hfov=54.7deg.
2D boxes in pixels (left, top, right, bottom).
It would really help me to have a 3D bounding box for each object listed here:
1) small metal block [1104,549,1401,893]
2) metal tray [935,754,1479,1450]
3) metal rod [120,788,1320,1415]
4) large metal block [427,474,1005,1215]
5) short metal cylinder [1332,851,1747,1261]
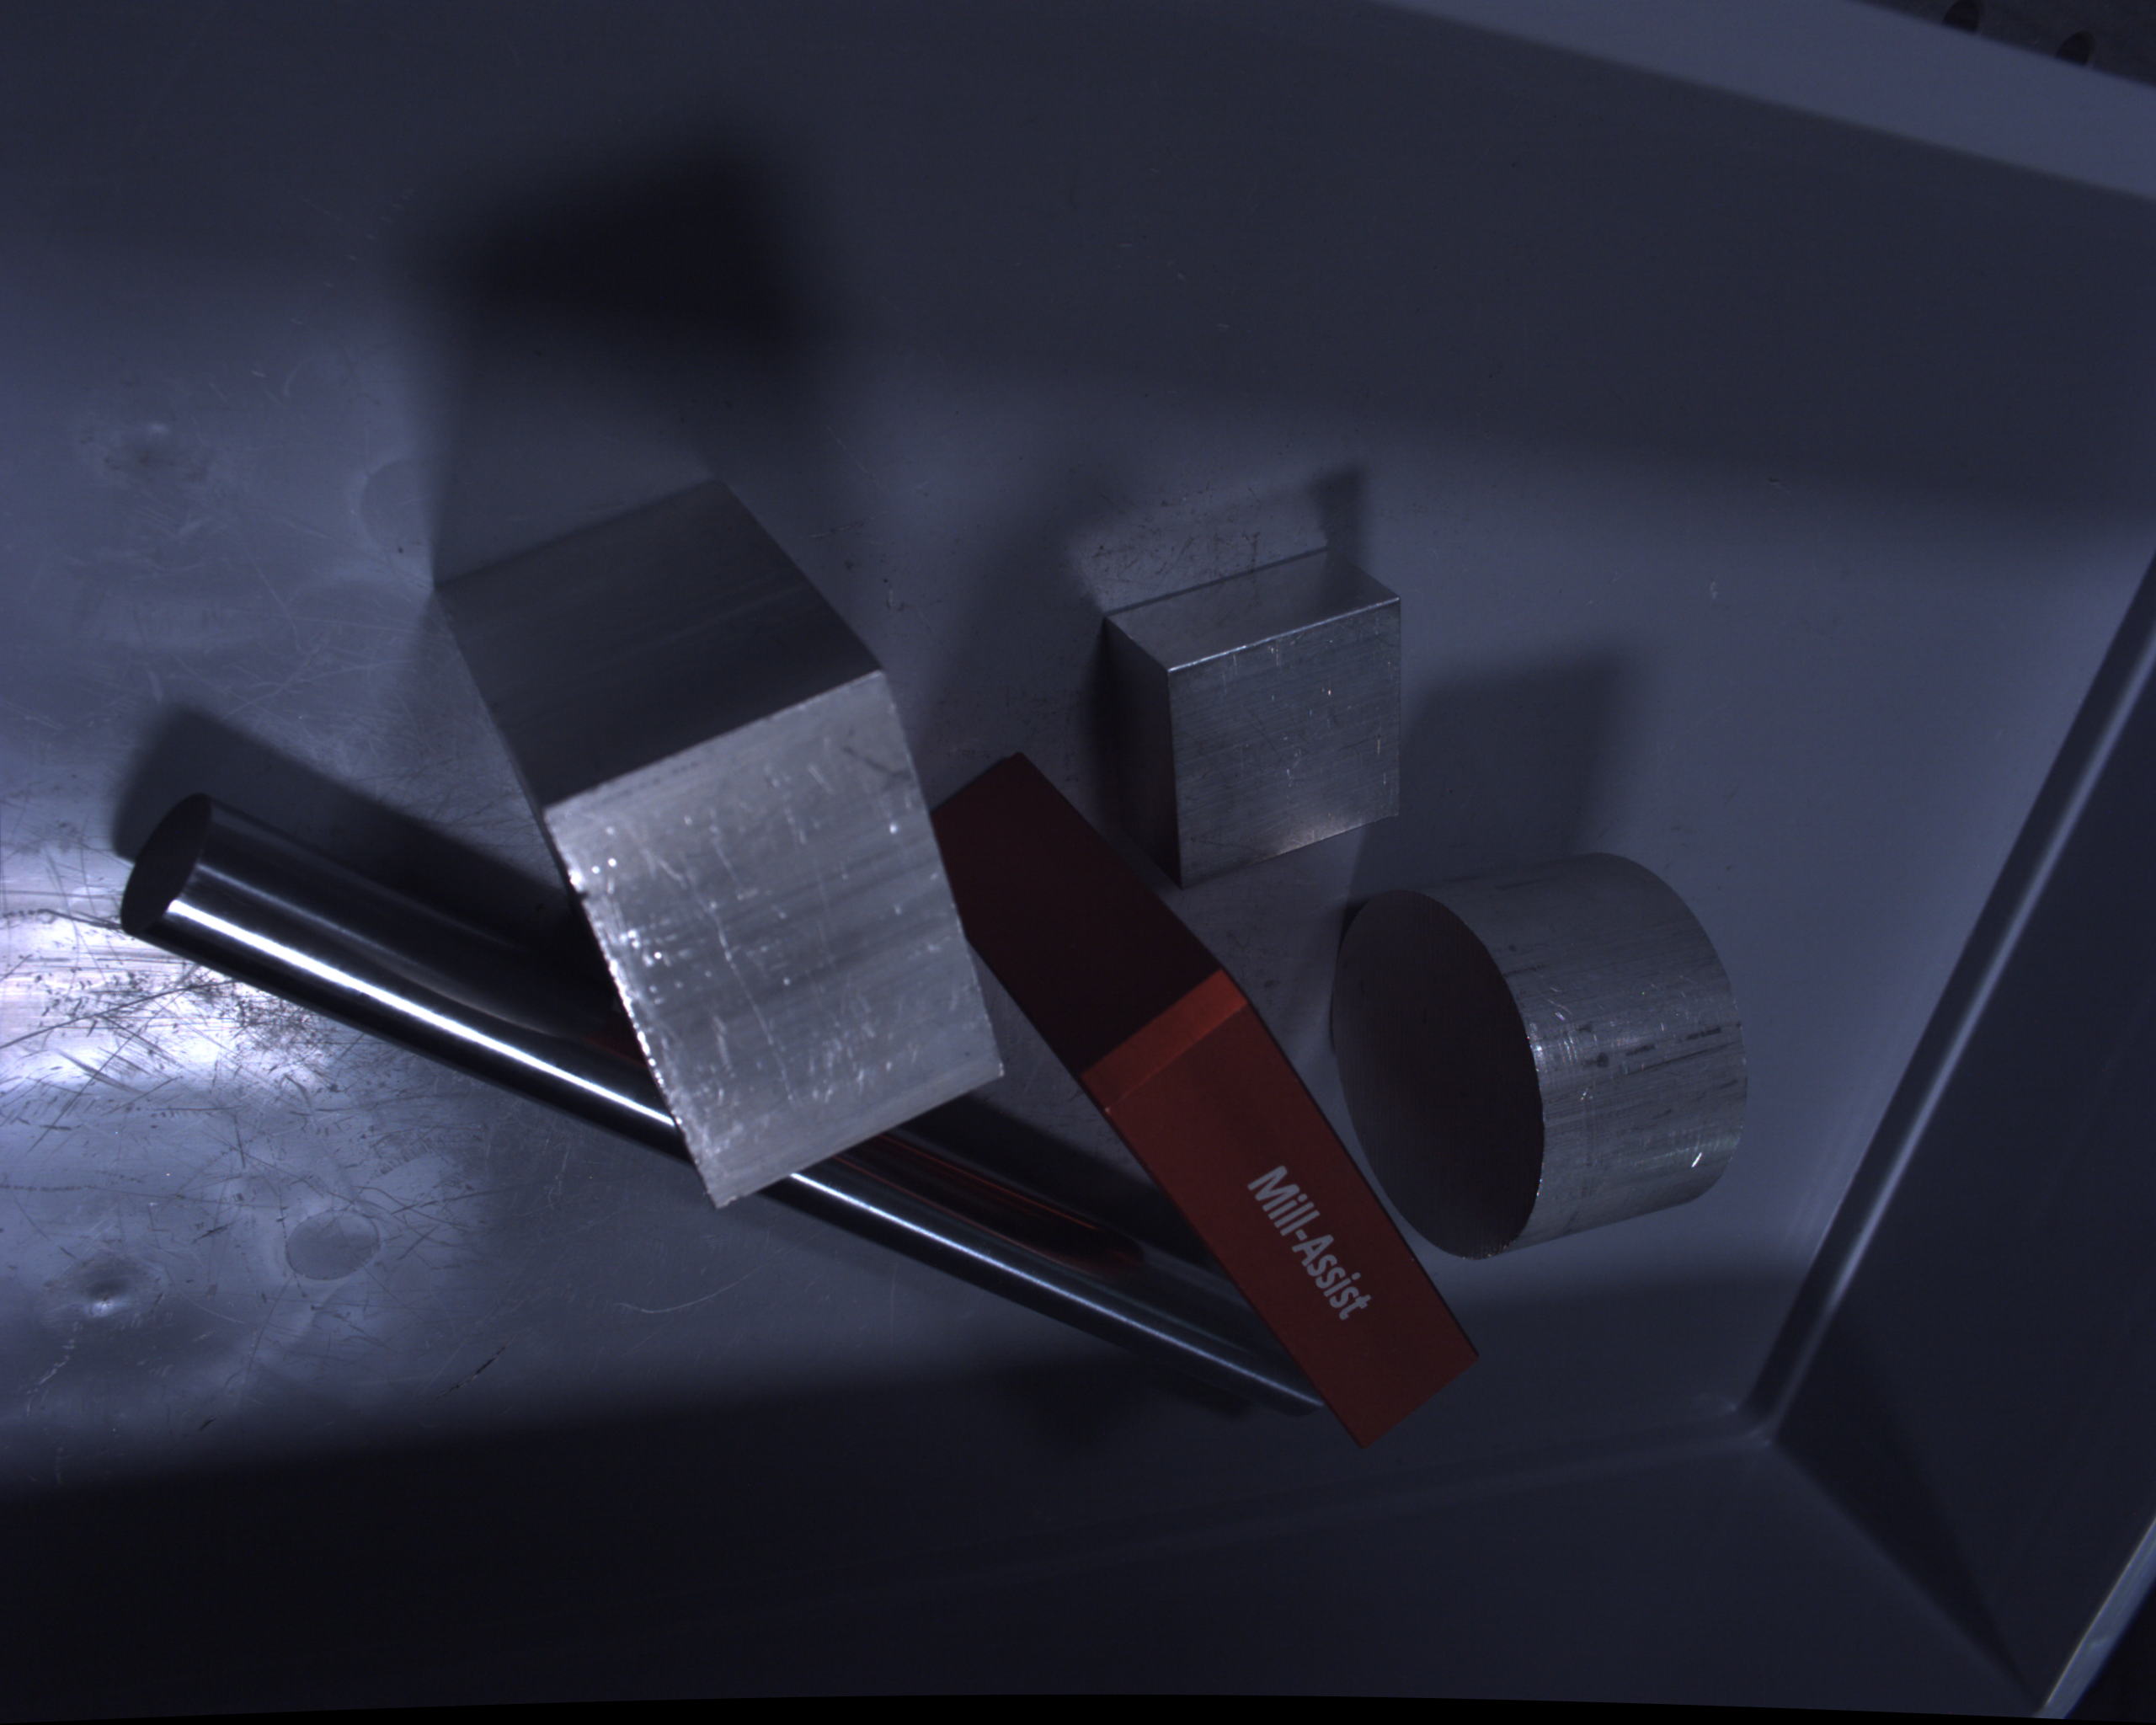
[{"bbox_3d":[0.035,-0.028,0.409,0.050,0.025,0.050,-19,126,-18],"label":"small metal block"},{"bbox_3d":[0.022,0.048,0.407,0.030,0.090,0.130,-38,130,-4],"label":"metal tray"},{"bbox_3d":[-0.044,0.062,0.422,0.301,0.025,0.025,32,100,-39],"label":"metal rod"},{"bbox_3d":[-0.059,-0.005,0.337,0.050,0.080,0.080,-24,128,-14],"label":"large metal block"},{"bbox_3d":[0.097,0.041,0.452,0.050,0.080,0.079,-11,123,-22],"label":"short metal cylinder"}]
